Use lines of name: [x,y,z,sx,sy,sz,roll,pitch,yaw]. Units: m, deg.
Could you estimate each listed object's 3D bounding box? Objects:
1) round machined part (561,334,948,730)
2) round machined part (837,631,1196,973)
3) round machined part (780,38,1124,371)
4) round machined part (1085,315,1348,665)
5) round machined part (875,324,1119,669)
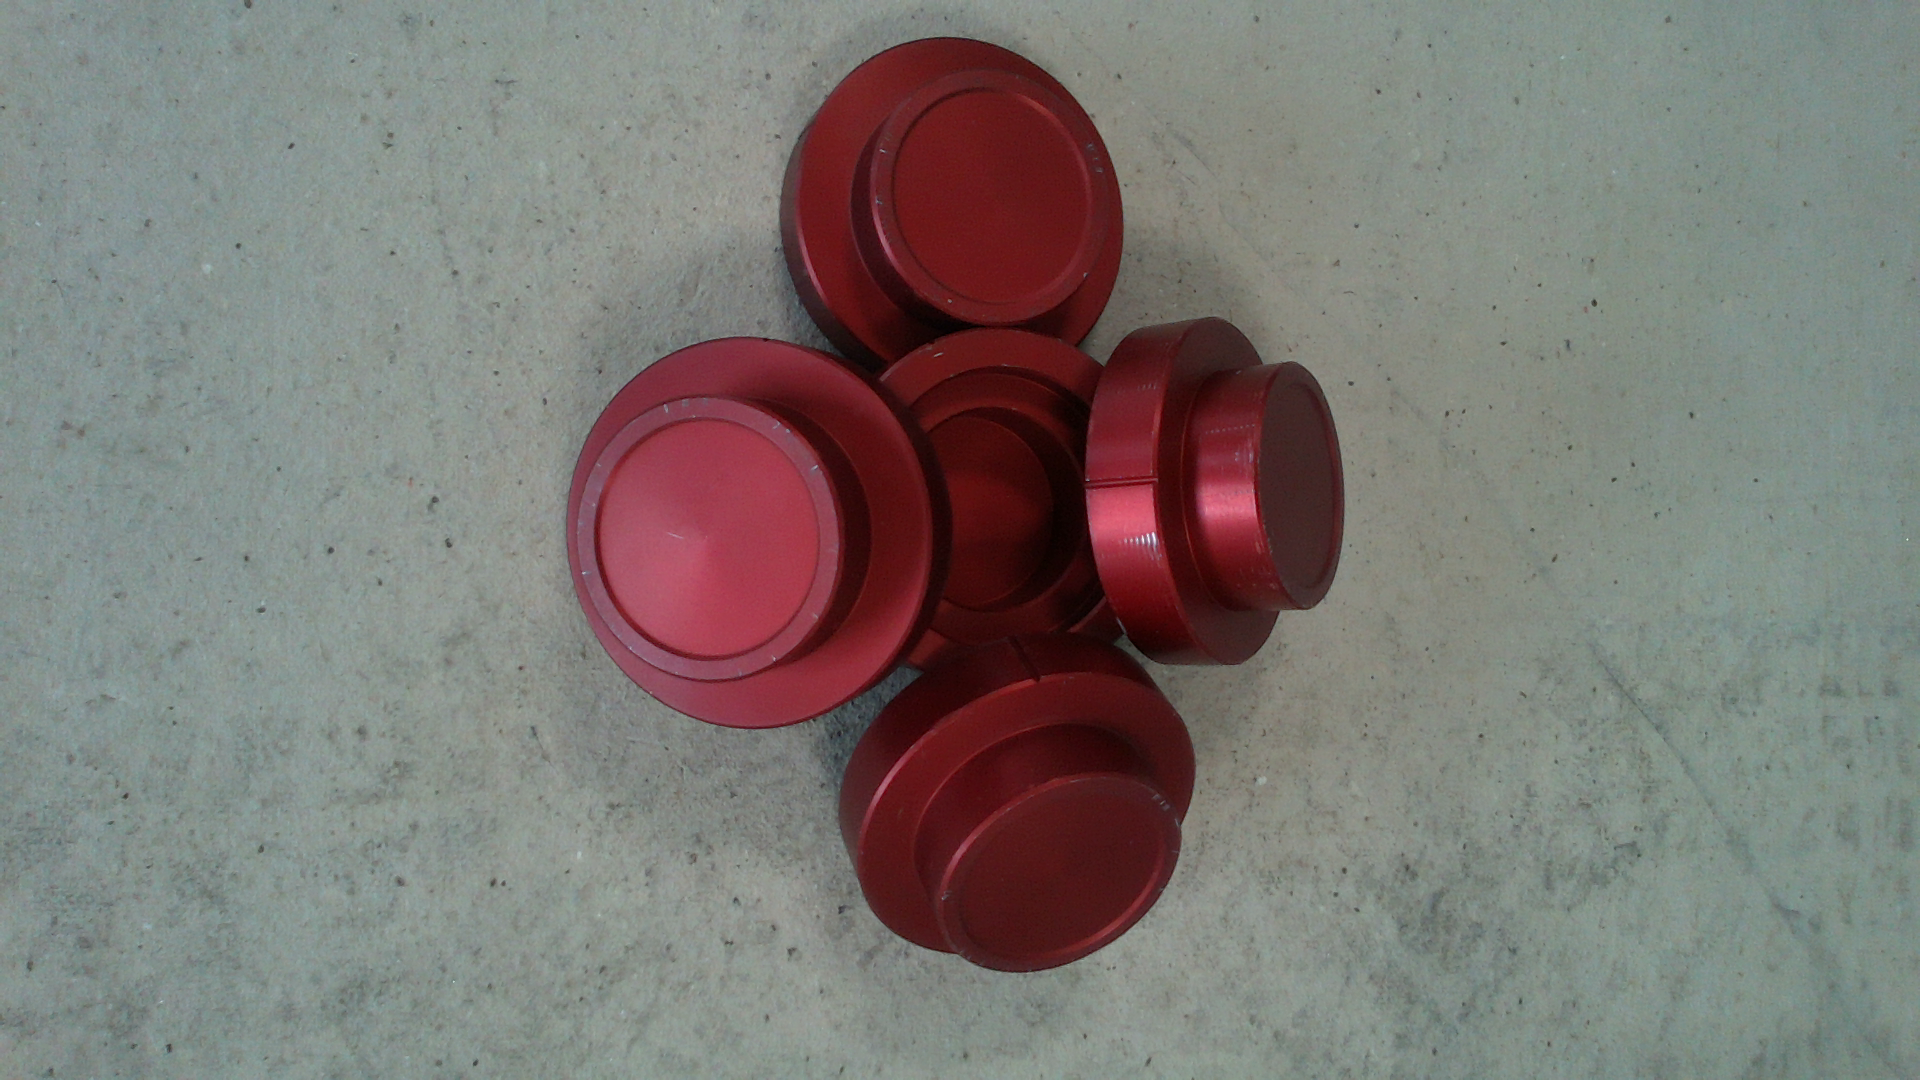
round machined part: [-0.055,-0.001,0.339,0.098,0.042,0.098,1,94,13]
round machined part: [0.020,0.076,0.369,0.098,0.042,0.098,-11,124,-16]
round machined part: [0.002,-0.092,0.385,0.098,0.042,0.098,1,88,-20]
round machined part: [0.077,-0.014,0.385,0.098,0.042,0.098,8,80,-55]
round machined part: [0.006,-0.009,0.387,0.098,0.042,0.098,0,89,-18]
